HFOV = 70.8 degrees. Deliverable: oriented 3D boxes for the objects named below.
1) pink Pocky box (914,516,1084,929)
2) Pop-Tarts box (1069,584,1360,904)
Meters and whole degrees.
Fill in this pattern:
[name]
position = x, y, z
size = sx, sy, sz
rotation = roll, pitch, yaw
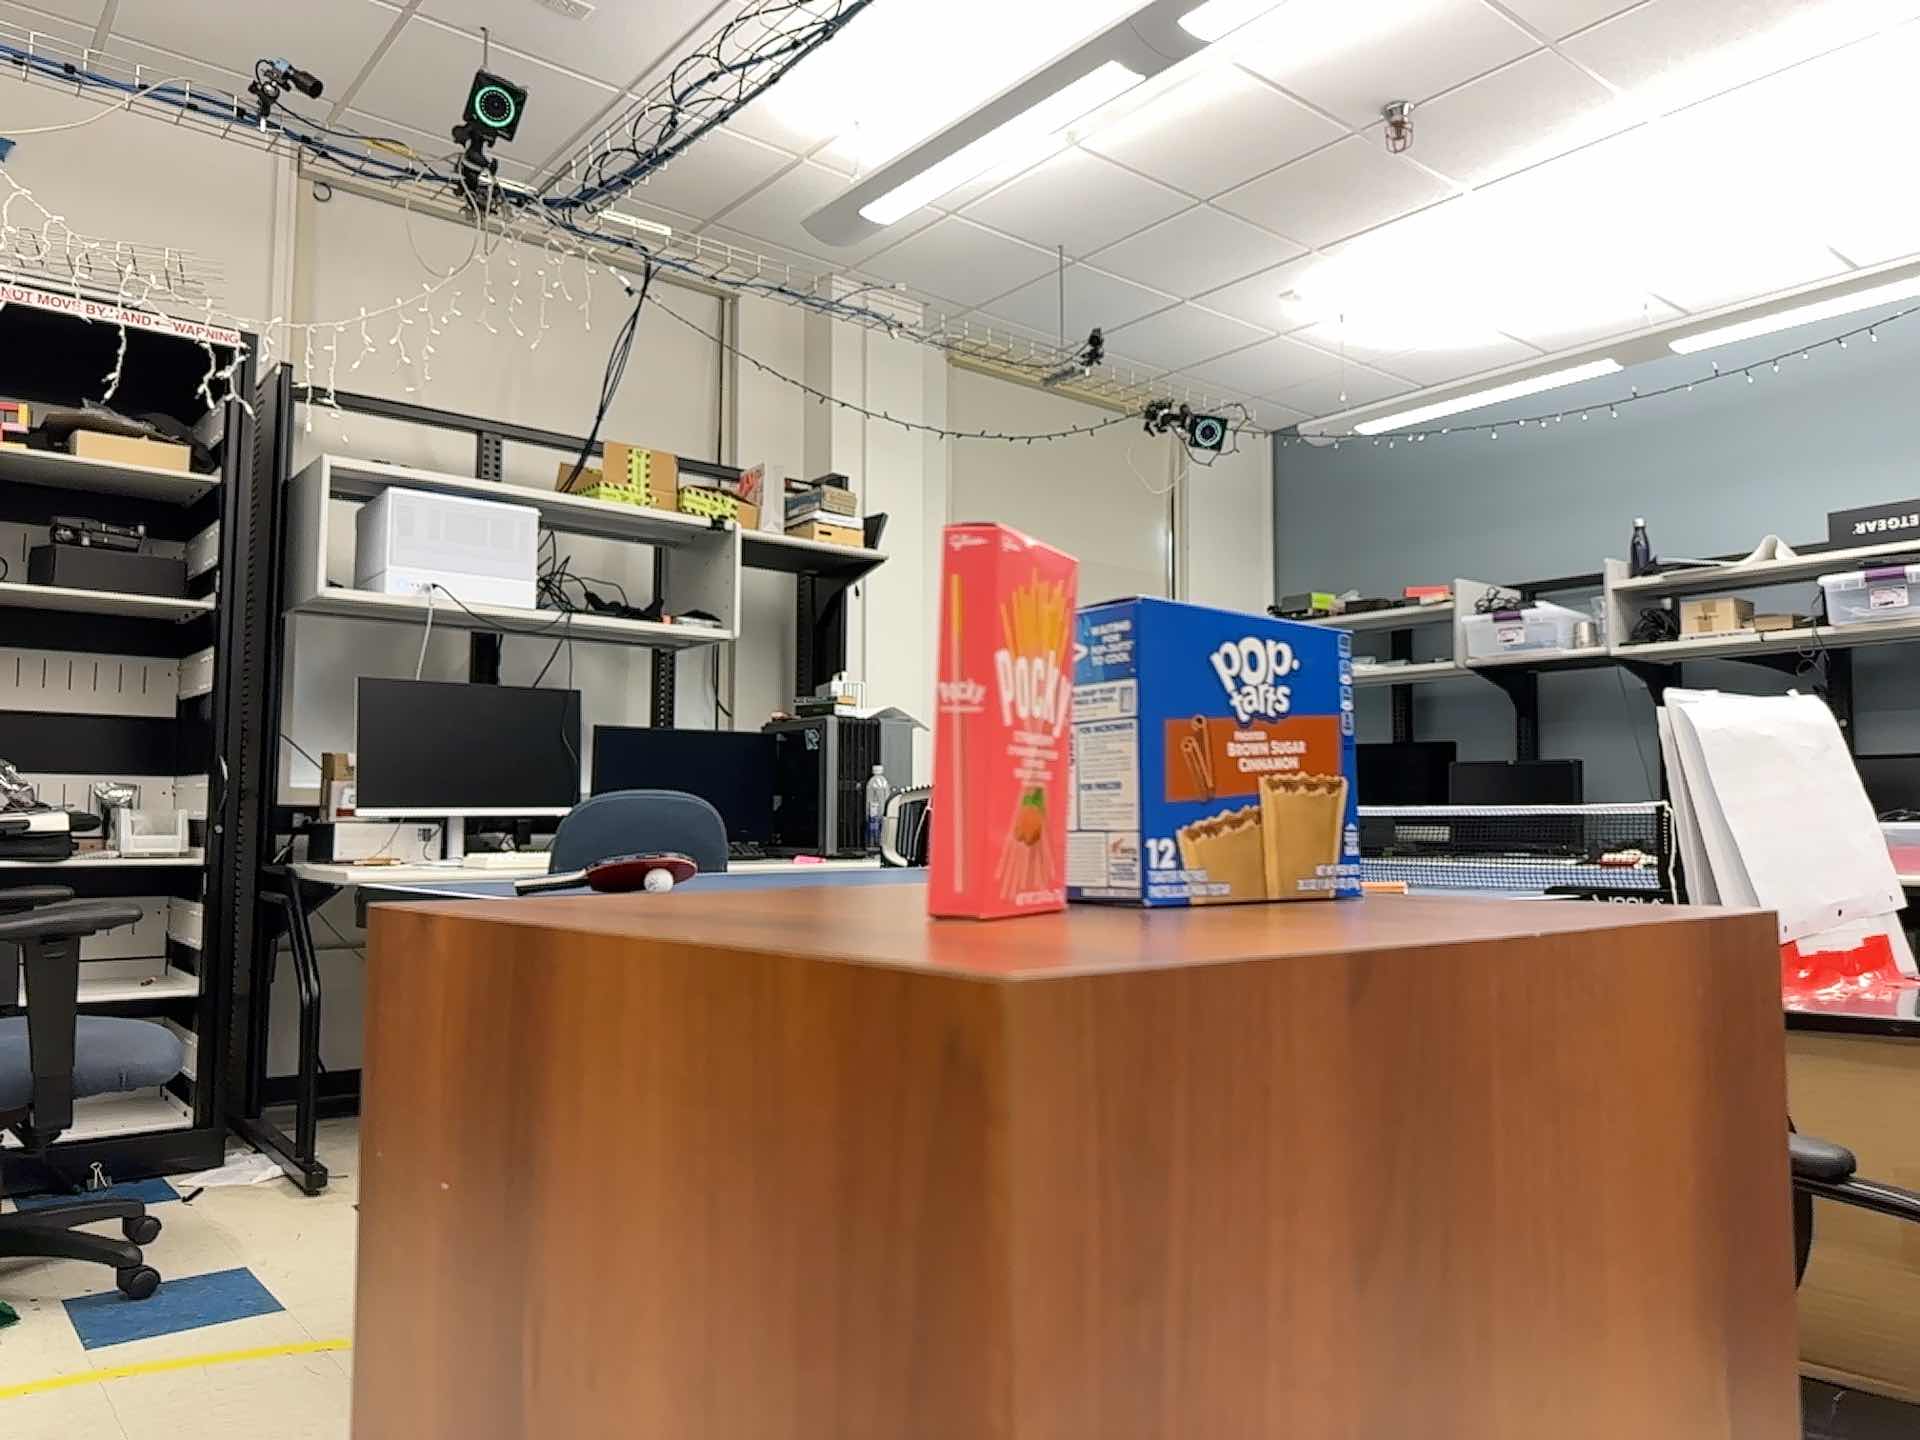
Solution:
[pink Pocky box]
position = 0.018, 0.003, 0.537
size = 0.029, 0.155, 0.084
rotation = 1, -5, 29
[Pop-Tarts box]
position = 0.117, 0.019, 0.668
size = 0.161, 0.135, 0.075
rotation = 7, -9, -40
